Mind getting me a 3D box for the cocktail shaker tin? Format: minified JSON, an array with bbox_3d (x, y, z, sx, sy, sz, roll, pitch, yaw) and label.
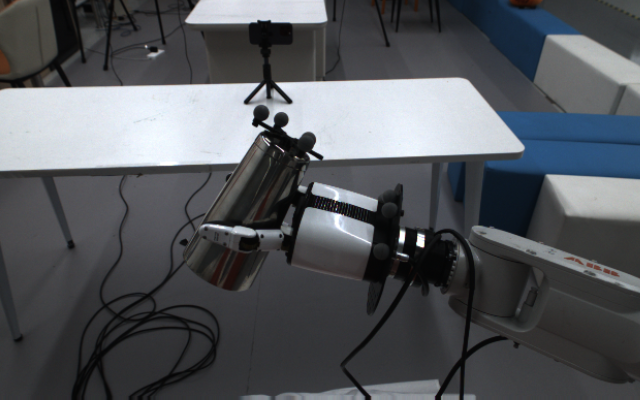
[{"bbox_3d":[-0.079,0.008,0.562,0.093,0.170,0.093,28,14,-7],"label":"cocktail shaker tin"}]
